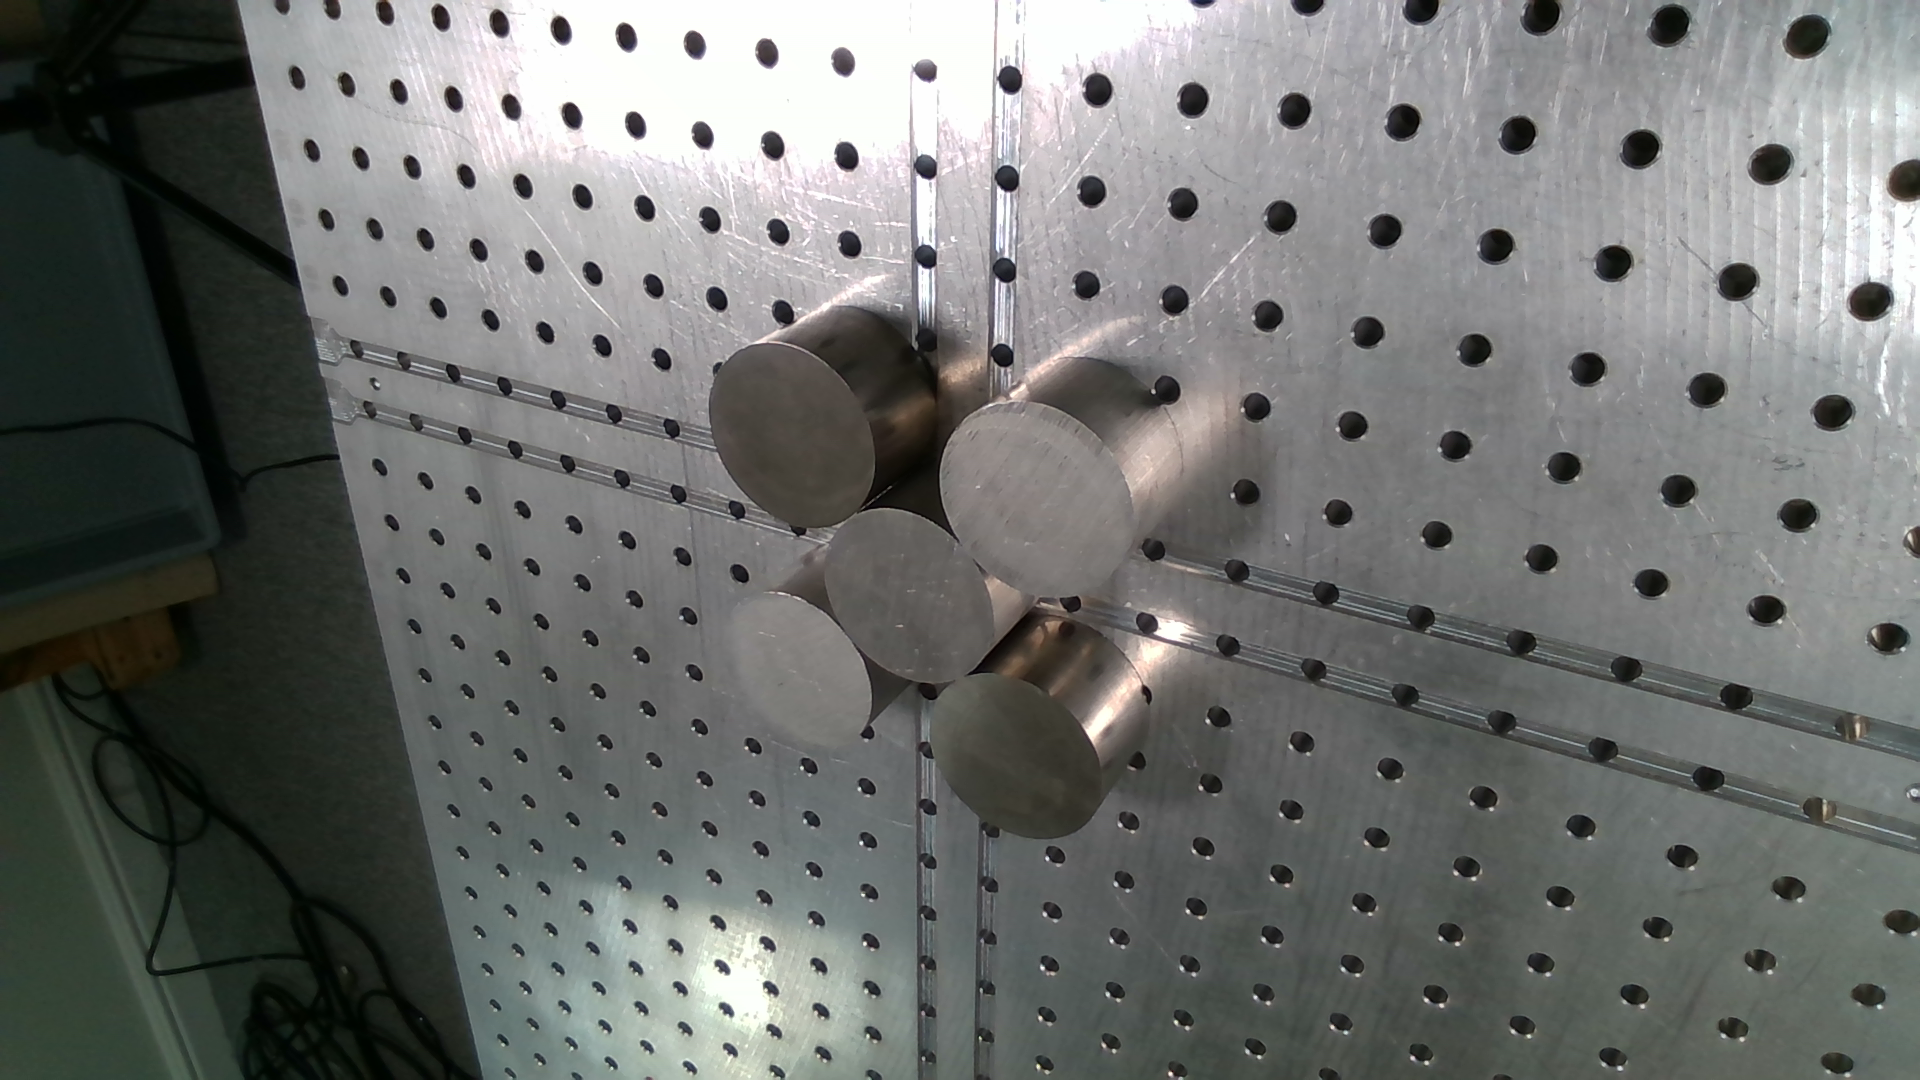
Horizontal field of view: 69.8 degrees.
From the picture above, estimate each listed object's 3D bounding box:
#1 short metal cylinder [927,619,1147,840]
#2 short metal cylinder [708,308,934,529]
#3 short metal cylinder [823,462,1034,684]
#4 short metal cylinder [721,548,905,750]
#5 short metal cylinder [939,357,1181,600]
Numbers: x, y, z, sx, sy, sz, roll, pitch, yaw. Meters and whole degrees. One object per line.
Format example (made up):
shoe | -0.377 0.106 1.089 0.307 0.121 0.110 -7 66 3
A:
short metal cylinder | 0.033 0.080 0.588 0.080 0.050 0.080 14 122 25
short metal cylinder | -0.057 -0.051 0.572 0.080 0.050 0.080 14 122 25
short metal cylinder | -0.010 0.013 0.580 0.080 0.050 0.080 14 122 25
short metal cylinder | -0.062 0.049 0.631 0.080 0.050 0.080 14 122 25
short metal cylinder | 0.039 -0.024 0.529 0.080 0.050 0.080 14 122 25
